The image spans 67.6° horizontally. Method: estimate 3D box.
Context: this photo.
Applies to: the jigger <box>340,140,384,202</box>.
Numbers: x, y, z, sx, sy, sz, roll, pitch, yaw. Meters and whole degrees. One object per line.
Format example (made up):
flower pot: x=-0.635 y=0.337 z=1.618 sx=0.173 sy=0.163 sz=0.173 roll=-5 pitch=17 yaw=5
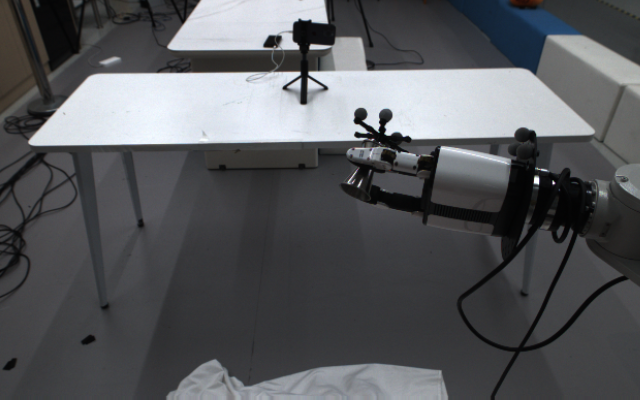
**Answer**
jigger: x=0.058 y=-0.041 z=0.620 sx=0.043 sy=0.043 sz=0.071 roll=20 pitch=73 yaw=24
